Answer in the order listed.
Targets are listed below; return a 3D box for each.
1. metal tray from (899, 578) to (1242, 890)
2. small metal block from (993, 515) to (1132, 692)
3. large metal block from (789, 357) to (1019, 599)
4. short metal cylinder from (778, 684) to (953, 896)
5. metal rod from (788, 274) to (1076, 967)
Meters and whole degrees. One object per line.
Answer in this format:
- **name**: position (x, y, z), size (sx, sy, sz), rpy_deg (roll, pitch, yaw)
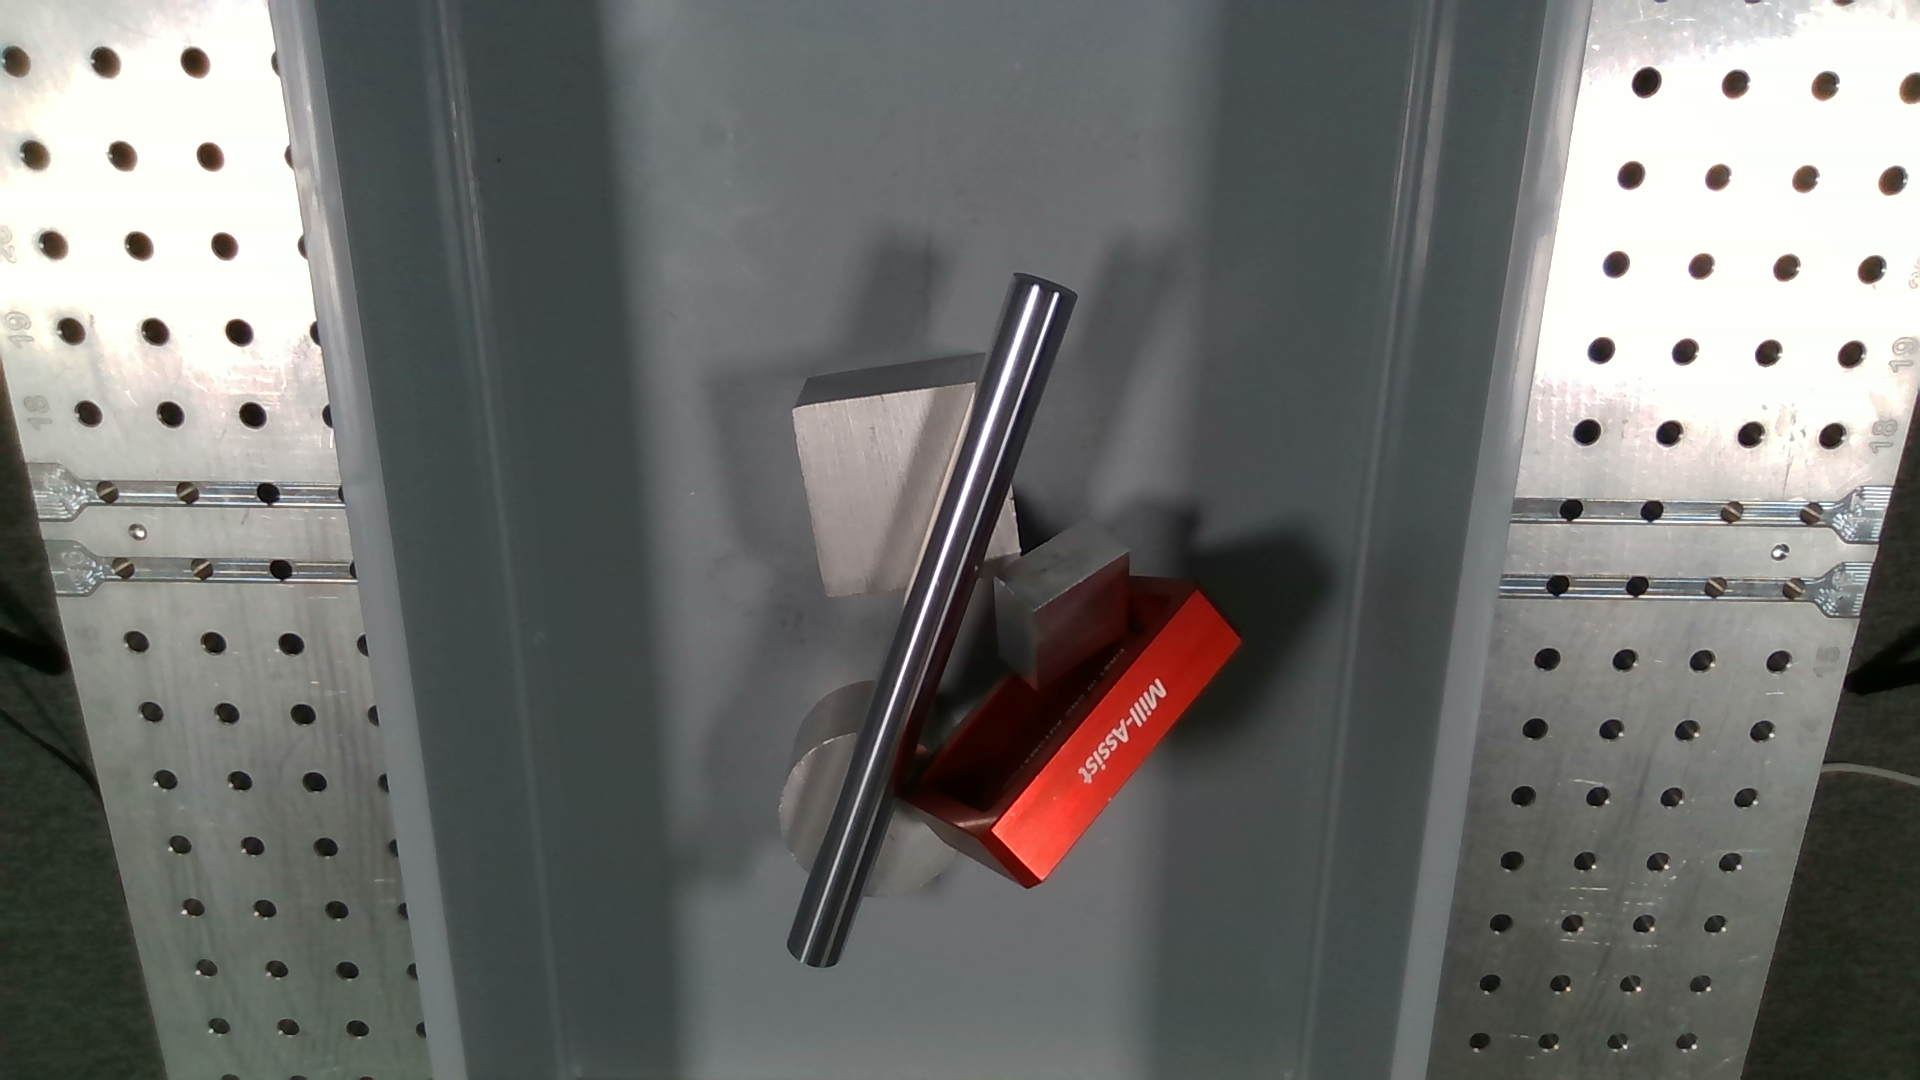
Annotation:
- **metal tray**: position (0.042, 0.071, 0.549), size (0.130, 0.090, 0.030), rpy_deg (-47, 106, -16)
- **small metal block**: position (0.042, 0.026, 0.557), size (0.050, 0.025, 0.050), rpy_deg (-31, 142, -23)
- **large metal block**: position (-0.020, -0.027, 0.560), size (0.080, 0.050, 0.080), rpy_deg (-7, 110, 3)
- **short metal cylinder**: position (-0.038, 0.109, 0.611), size (0.080, 0.050, 0.080), rpy_deg (0, 110, 0)
- **metal rod**: position (-0.016, 0.042, 0.545), size (0.025, 0.025, 0.301), rpy_deg (17, 109, -6)
